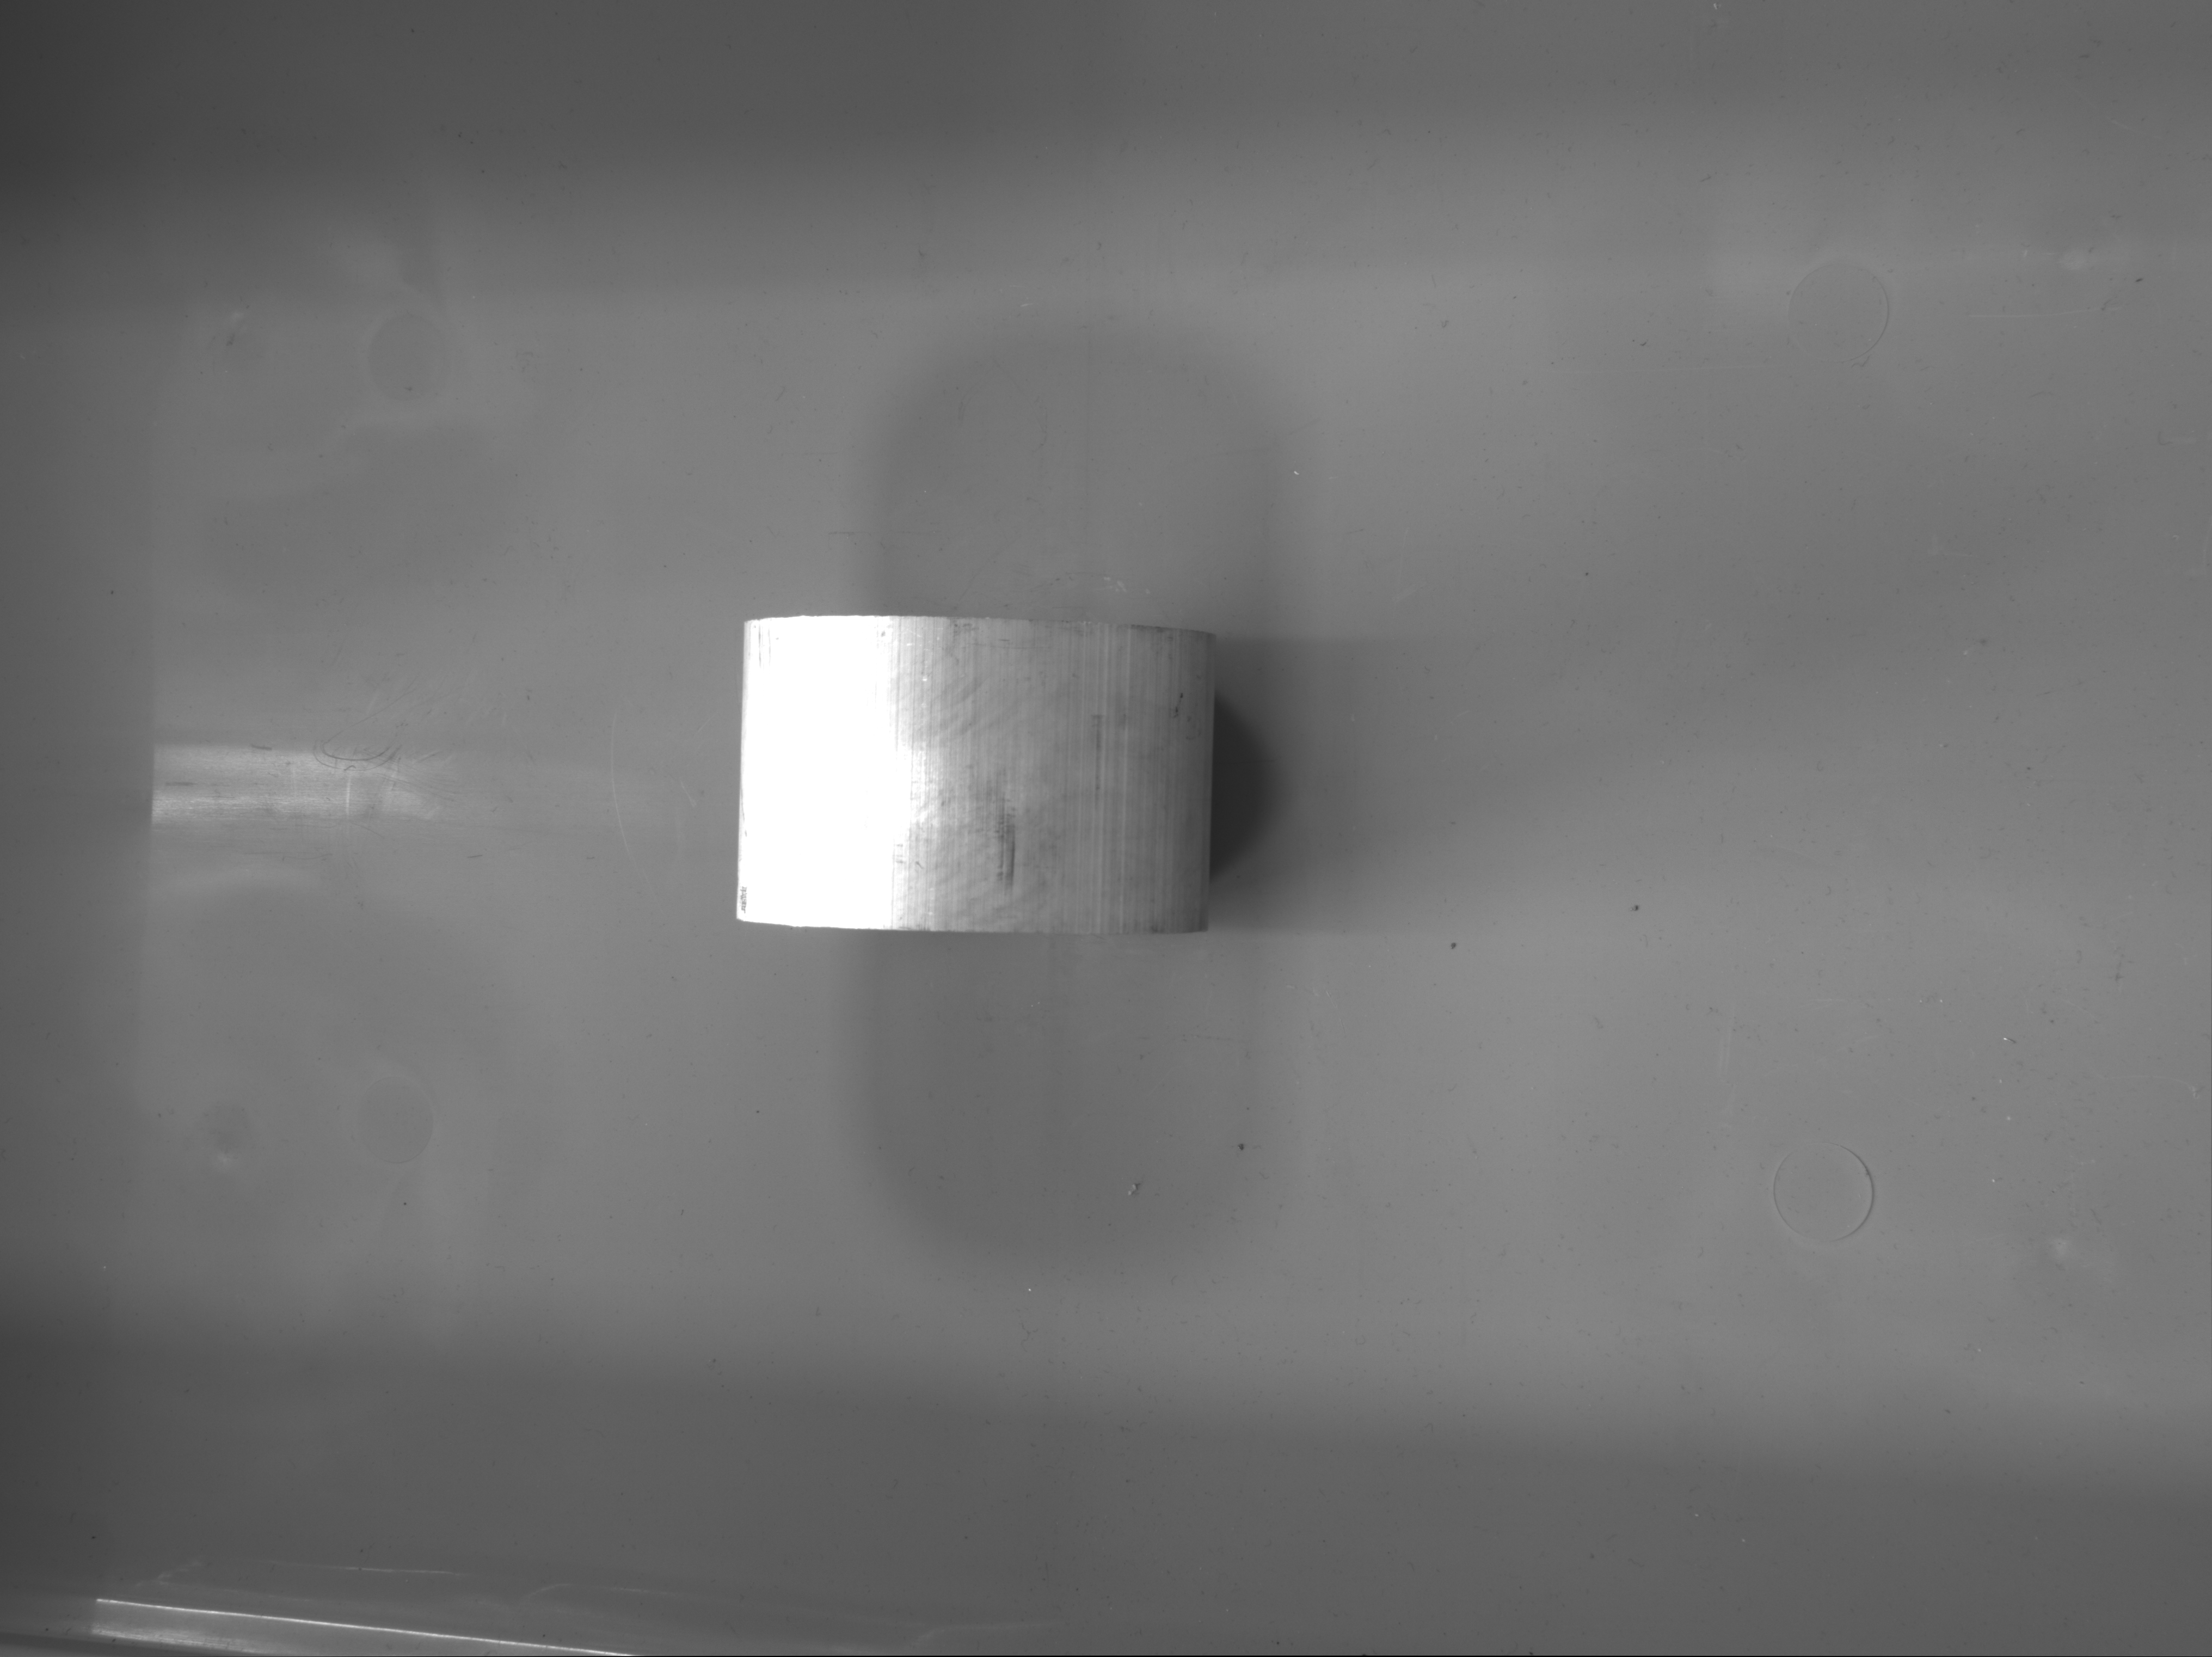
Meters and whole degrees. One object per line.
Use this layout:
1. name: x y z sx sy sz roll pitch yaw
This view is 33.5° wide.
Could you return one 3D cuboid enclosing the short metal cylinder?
1. short metal cylinder: -0.022 -0.008 0.623 0.080 0.080 0.050 2 91 20
